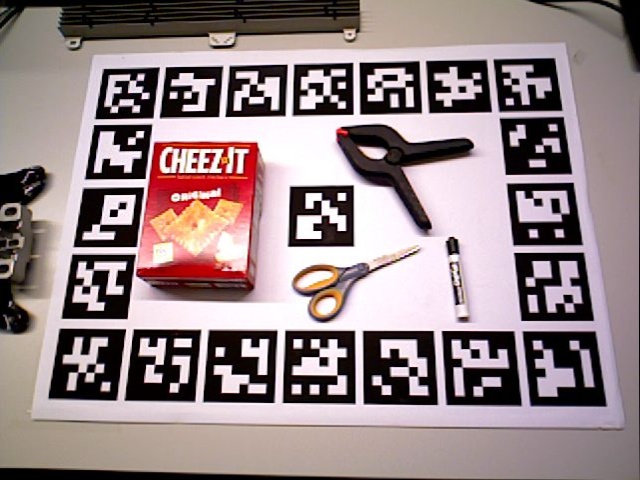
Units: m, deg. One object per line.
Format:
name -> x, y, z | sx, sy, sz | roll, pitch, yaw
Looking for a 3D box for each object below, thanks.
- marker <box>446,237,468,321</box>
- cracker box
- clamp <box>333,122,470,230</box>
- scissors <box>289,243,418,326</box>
marker -> 0.194, 0.053, 0.773 | 0.019, 0.020, 0.120 | -3, 71, 3
cracker box -> -0.178, -0.039, 0.805 | 0.164, 0.073, 0.212 | 2, 71, 5
clamp -> 0.108, -0.127, 0.846 | 0.202, 0.037, 0.163 | 30, 75, 12
scissors -> 0.052, 0.048, 0.786 | 0.201, 0.016, 0.087 | -26, 70, -7
